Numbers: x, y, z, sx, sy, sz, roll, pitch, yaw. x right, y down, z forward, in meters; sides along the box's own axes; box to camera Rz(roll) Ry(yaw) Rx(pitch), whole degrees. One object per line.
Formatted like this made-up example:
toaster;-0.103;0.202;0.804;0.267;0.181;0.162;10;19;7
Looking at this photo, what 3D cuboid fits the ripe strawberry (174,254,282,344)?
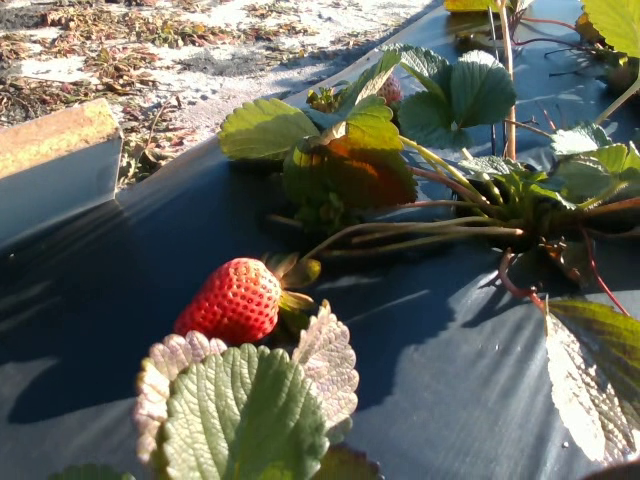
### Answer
ripe strawberry;-0.041;0.028;0.258;0.063;0.044;0.044;-30;-1;-43
